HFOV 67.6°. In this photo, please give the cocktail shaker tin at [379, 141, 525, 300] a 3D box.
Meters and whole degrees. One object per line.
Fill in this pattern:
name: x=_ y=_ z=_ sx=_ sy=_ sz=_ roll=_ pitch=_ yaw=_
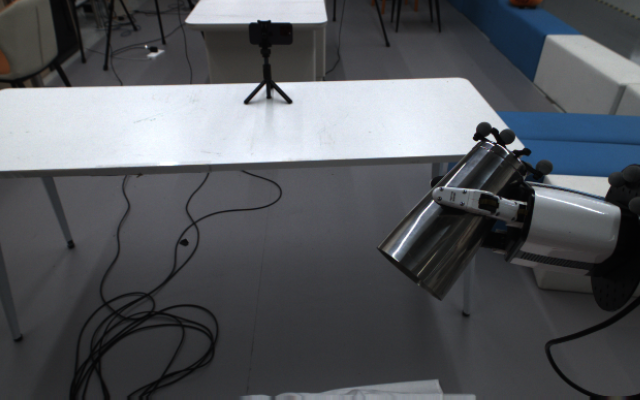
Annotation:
cocktail shaker tin: x=0.155 y=0.015 z=0.549 sx=0.170 sy=0.093 sz=0.093 roll=-48 pitch=49 yaw=-3
